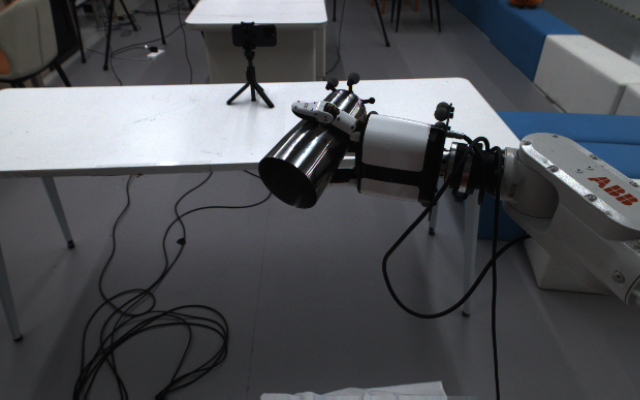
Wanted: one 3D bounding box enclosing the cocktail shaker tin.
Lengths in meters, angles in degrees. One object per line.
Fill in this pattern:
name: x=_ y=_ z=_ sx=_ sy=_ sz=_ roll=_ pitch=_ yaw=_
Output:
cocktail shaker tin: x=0.001 y=-0.084 z=0.676 sx=0.093 sy=0.093 sz=0.170 roll=19 pitch=55 yaw=23
